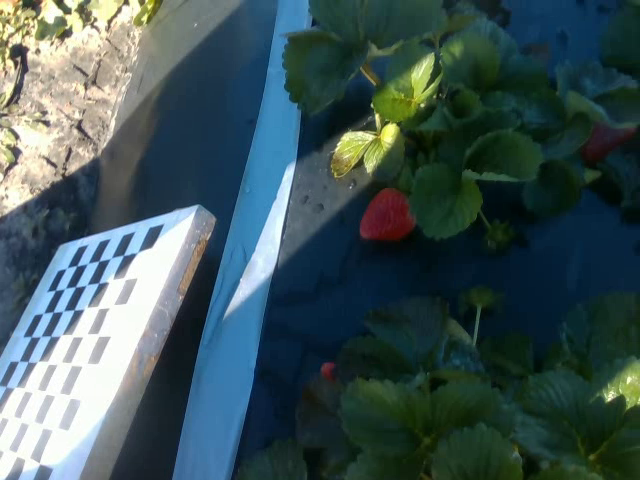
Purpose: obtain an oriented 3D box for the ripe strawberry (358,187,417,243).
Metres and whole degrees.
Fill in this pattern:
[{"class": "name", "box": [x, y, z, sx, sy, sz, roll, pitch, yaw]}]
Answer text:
[{"class": "ripe strawberry", "box": [0.052, -0.017, 0.519, 0.058, 0.042, 0.045, -38, 31, -13]}]
